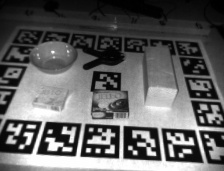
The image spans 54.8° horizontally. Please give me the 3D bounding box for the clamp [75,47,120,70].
[{"bbox_3d":[-0.052,-0.108,0.821,0.166,0.037,0.121,-4,49,-11],"label":"clamp"}]

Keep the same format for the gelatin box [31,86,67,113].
[{"bbox_3d":[-0.193,0.041,0.669,0.089,0.030,0.073,9,50,3],"label":"gelatin box"}]

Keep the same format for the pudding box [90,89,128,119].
[{"bbox_3d":[-0.007,0.057,0.669,0.114,0.039,0.089,1,53,-1],"label":"pudding box"}]

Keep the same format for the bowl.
[{"bbox_3d":[-0.214,-0.092,0.777,0.162,0.055,0.161,3,51,-3],"label":"bowl"}]

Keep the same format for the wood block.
[{"bbox_3d":[0.155,-0.040,0.733,0.090,0.091,0.205,6,49,-1],"label":"wood block"}]
